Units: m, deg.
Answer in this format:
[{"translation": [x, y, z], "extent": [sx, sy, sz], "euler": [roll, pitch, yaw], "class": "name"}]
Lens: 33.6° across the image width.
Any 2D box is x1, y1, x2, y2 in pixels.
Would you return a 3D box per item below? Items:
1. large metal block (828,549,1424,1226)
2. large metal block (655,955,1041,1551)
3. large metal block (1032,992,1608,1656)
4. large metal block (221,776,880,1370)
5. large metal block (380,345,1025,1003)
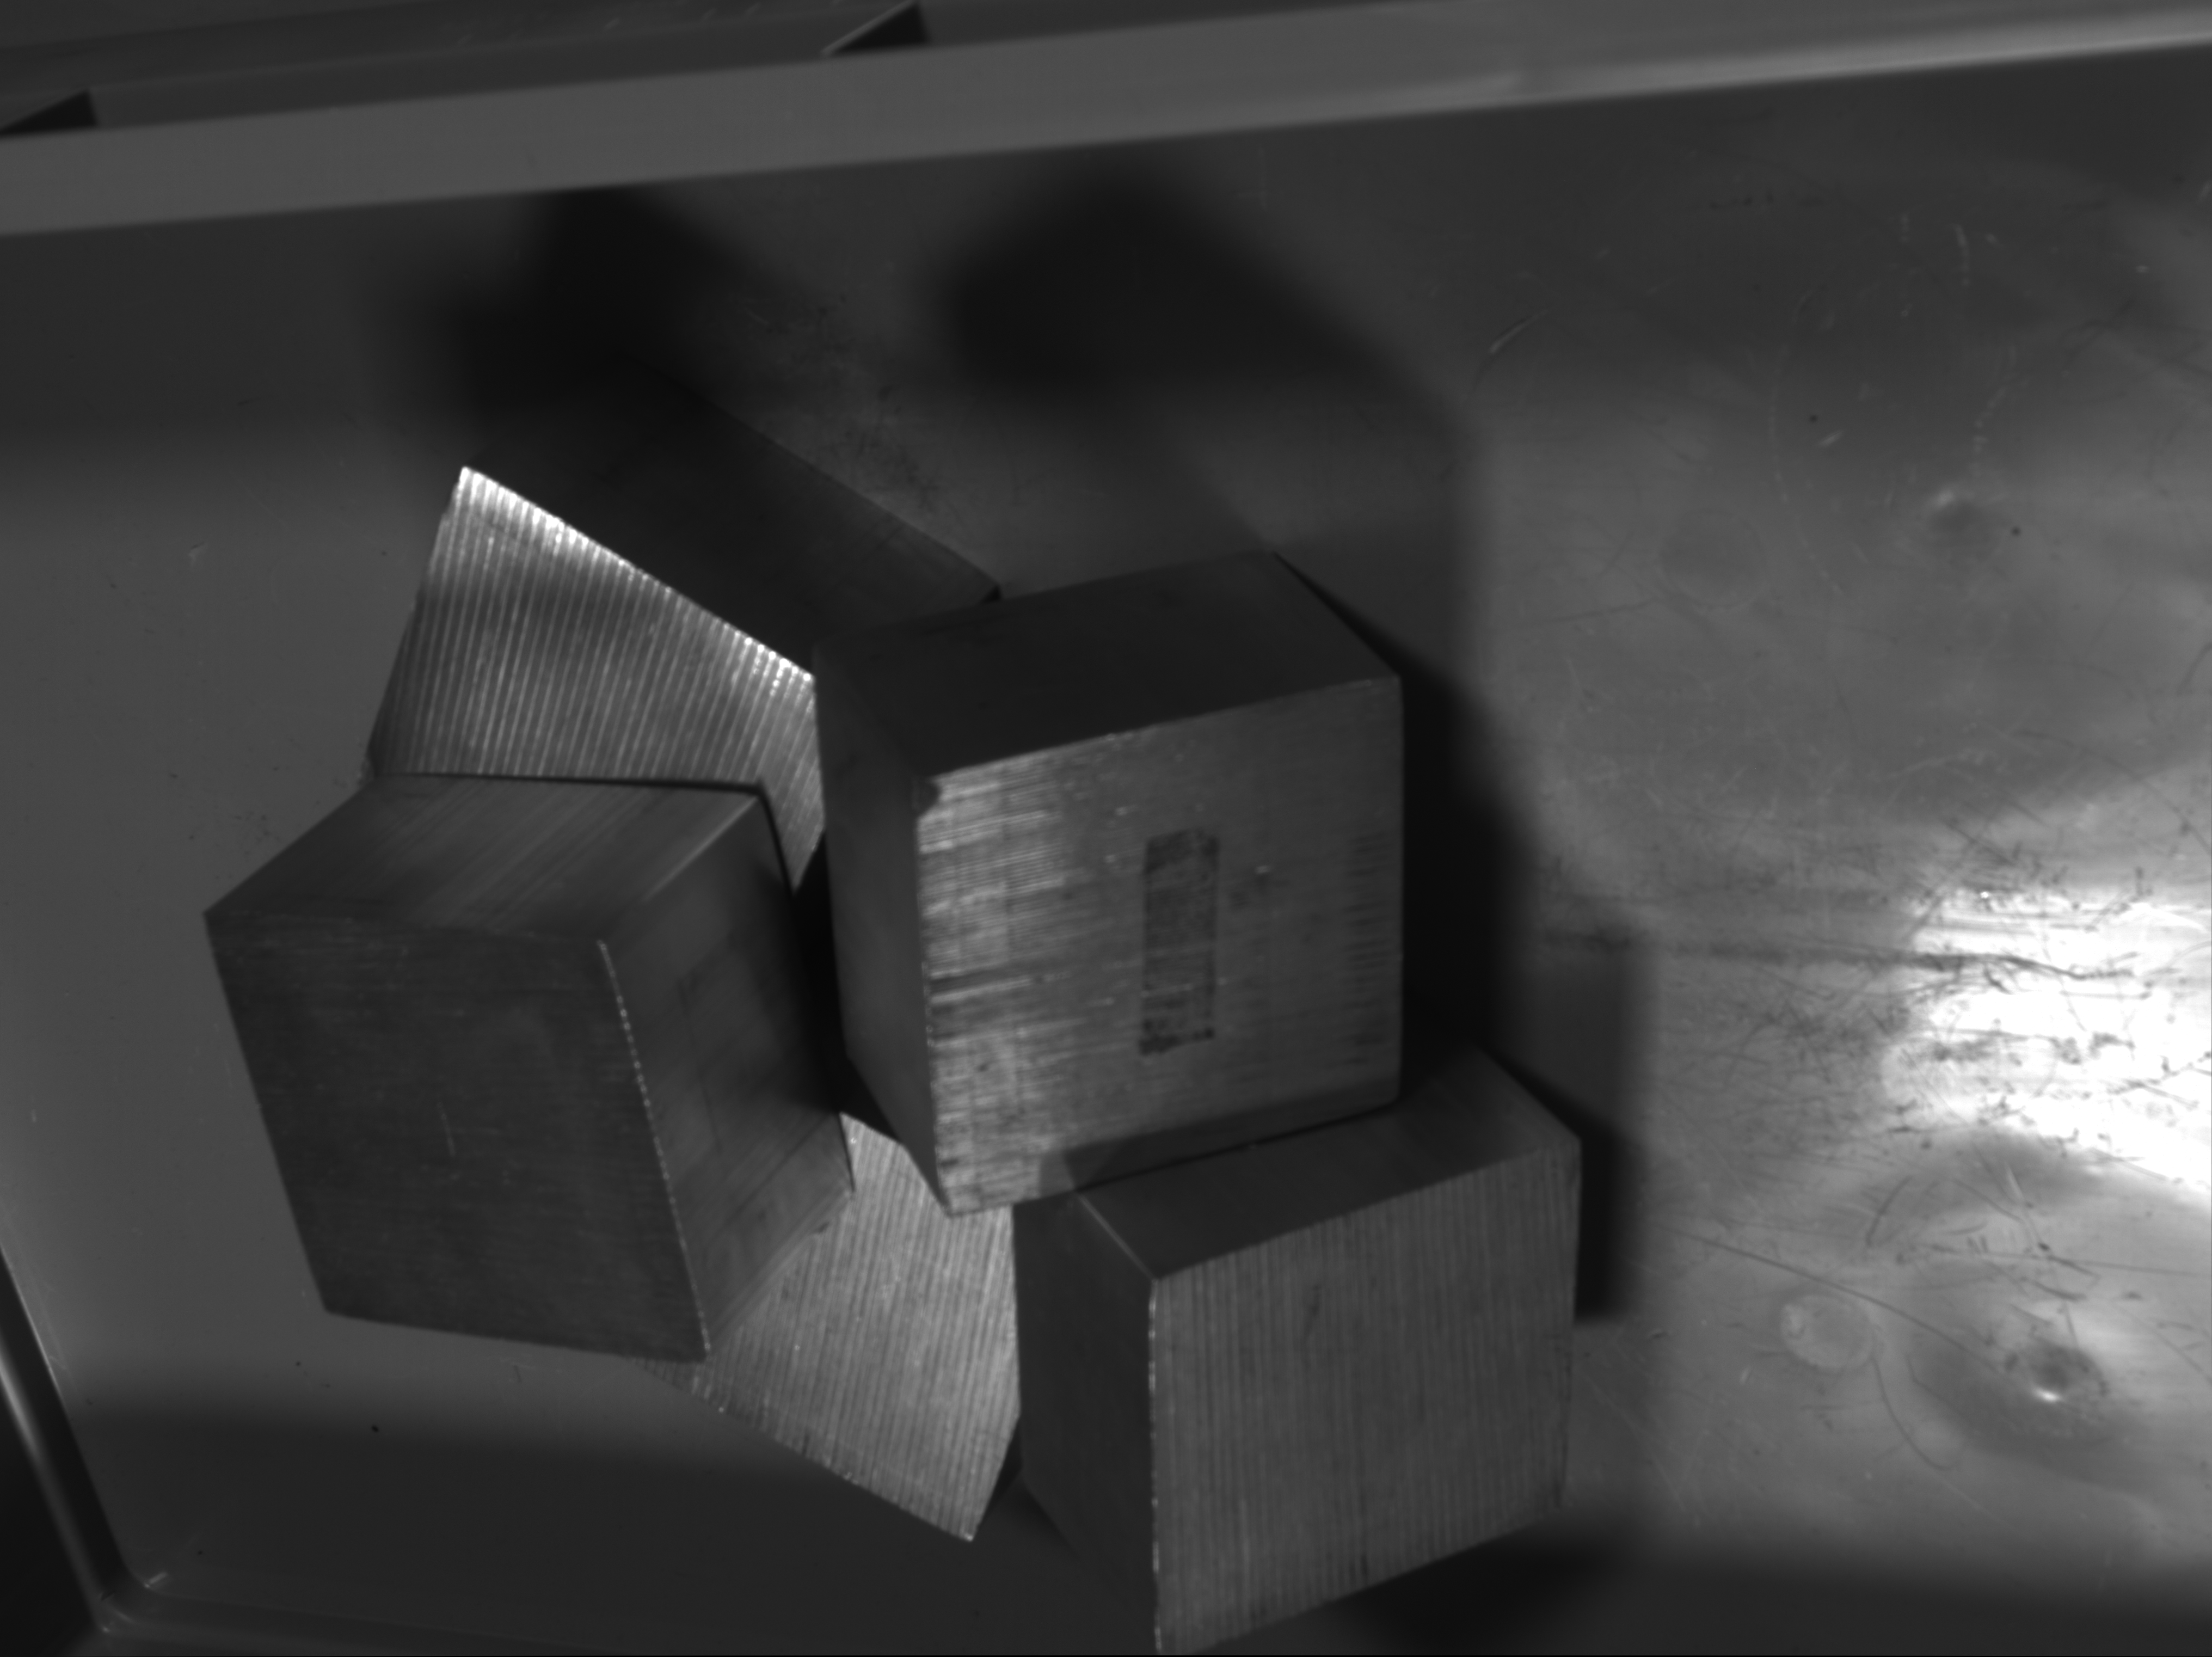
[{"translation": [0.004, 0.008, 0.590], "extent": [0.080, 0.050, 0.080], "euler": [-13, 122, -18], "class": "large metal block"}, {"translation": [-0.036, 0.072, 0.671], "extent": [0.080, 0.050, 0.080], "euler": [26, 127, 10], "class": "large metal block"}, {"translation": [0.035, 0.084, 0.619], "extent": [0.050, 0.080, 0.080], "euler": [44, 142, 51], "class": "large metal block"}, {"translation": [-0.092, 0.040, 0.618], "extent": [0.080, 0.050, 0.080], "euler": [3, 118, 26], "class": "large metal block"}, {"translation": [-0.072, -0.023, 0.637], "extent": [0.080, 0.050, 0.080], "euler": [31, 128, 7], "class": "large metal block"}]
